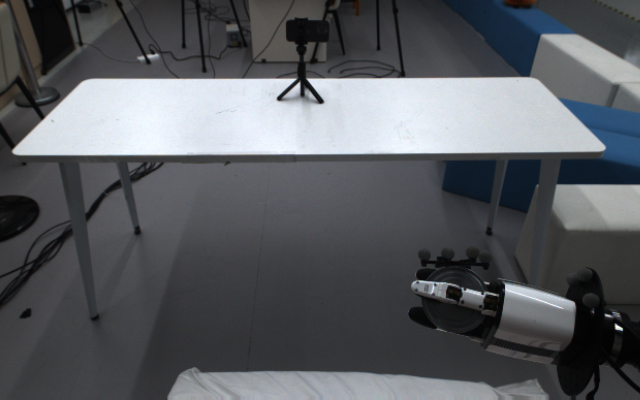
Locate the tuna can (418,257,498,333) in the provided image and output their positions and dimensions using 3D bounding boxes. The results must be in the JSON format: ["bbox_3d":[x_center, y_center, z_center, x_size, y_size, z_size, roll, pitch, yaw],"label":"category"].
[{"bbox_3d":[0.180,0.128,0.638,0.085,0.034,0.085,-4,72,12],"label":"tuna can"}]
